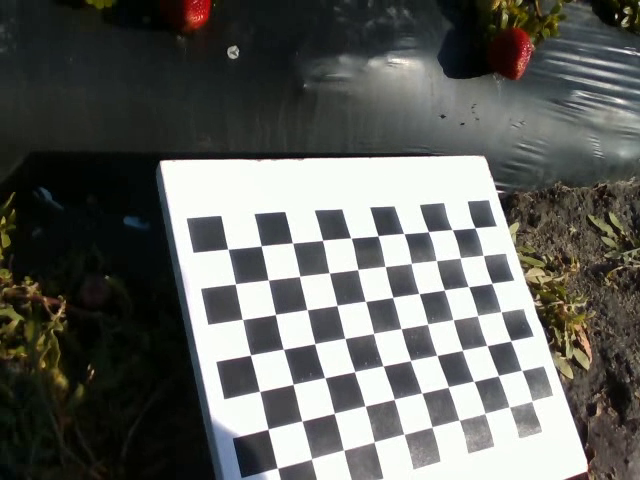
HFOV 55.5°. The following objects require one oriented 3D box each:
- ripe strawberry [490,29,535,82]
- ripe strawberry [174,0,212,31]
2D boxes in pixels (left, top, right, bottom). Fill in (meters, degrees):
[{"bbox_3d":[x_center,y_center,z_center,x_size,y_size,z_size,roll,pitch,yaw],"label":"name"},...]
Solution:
[{"bbox_3d":[0.161,-0.154,0.514,0.042,0.059,0.042,19,-38,-22],"label":"ripe strawberry"},{"bbox_3d":[-0.093,-0.160,0.434,0.045,0.042,0.055,5,37,-28],"label":"ripe strawberry"}]
